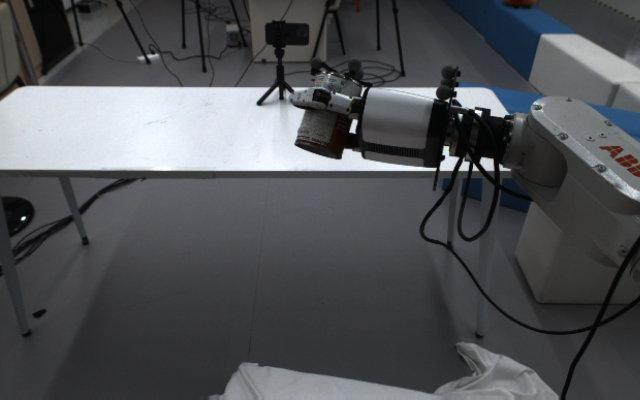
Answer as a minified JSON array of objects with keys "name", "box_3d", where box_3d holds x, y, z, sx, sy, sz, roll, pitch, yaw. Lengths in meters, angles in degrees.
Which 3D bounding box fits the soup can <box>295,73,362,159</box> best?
[{"name":"soup can","box_3d":[0.012,-0.114,0.658,0.067,0.101,0.067,17,-1,0]}]
